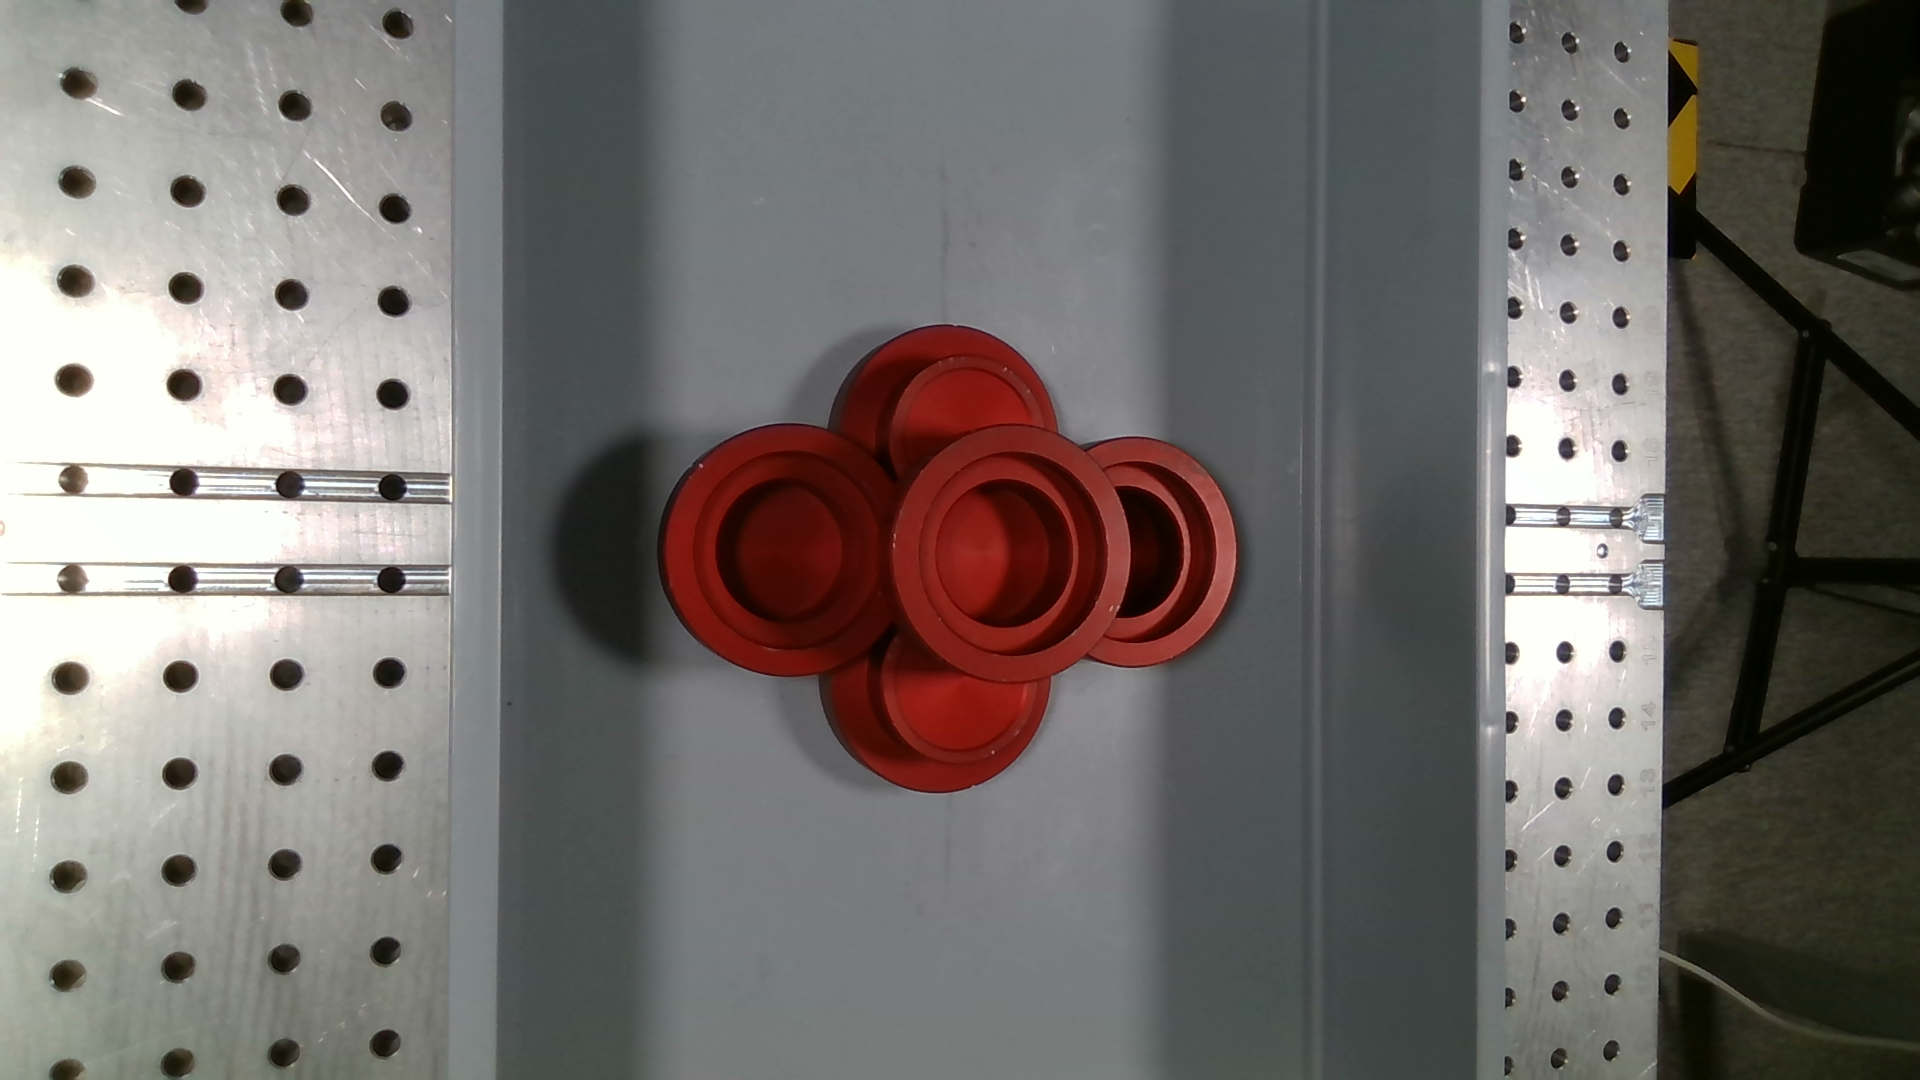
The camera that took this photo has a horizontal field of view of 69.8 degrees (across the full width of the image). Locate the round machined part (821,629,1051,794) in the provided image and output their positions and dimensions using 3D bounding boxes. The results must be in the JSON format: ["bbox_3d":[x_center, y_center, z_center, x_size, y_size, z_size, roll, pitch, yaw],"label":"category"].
[{"bbox_3d":[-0.006,0.057,0.573,0.098,0.042,0.098,0,90,-20],"label":"round machined part"}]

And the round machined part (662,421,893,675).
[{"bbox_3d":[-0.071,0.003,0.549,0.098,0.042,0.098,0,90,-20],"label":"round machined part"}]

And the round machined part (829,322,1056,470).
[{"bbox_3d":[-0.003,-0.042,0.574,0.098,0.042,0.098,0,90,-20],"label":"round machined part"}]

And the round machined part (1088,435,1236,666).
[{"bbox_3d":[0.067,0.005,0.600,0.098,0.042,0.098,0,90,-20],"label":"round machined part"}]

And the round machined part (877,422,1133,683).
[{"bbox_3d":[0.014,0.005,0.535,0.098,0.042,0.098,0,90,-20],"label":"round machined part"}]
